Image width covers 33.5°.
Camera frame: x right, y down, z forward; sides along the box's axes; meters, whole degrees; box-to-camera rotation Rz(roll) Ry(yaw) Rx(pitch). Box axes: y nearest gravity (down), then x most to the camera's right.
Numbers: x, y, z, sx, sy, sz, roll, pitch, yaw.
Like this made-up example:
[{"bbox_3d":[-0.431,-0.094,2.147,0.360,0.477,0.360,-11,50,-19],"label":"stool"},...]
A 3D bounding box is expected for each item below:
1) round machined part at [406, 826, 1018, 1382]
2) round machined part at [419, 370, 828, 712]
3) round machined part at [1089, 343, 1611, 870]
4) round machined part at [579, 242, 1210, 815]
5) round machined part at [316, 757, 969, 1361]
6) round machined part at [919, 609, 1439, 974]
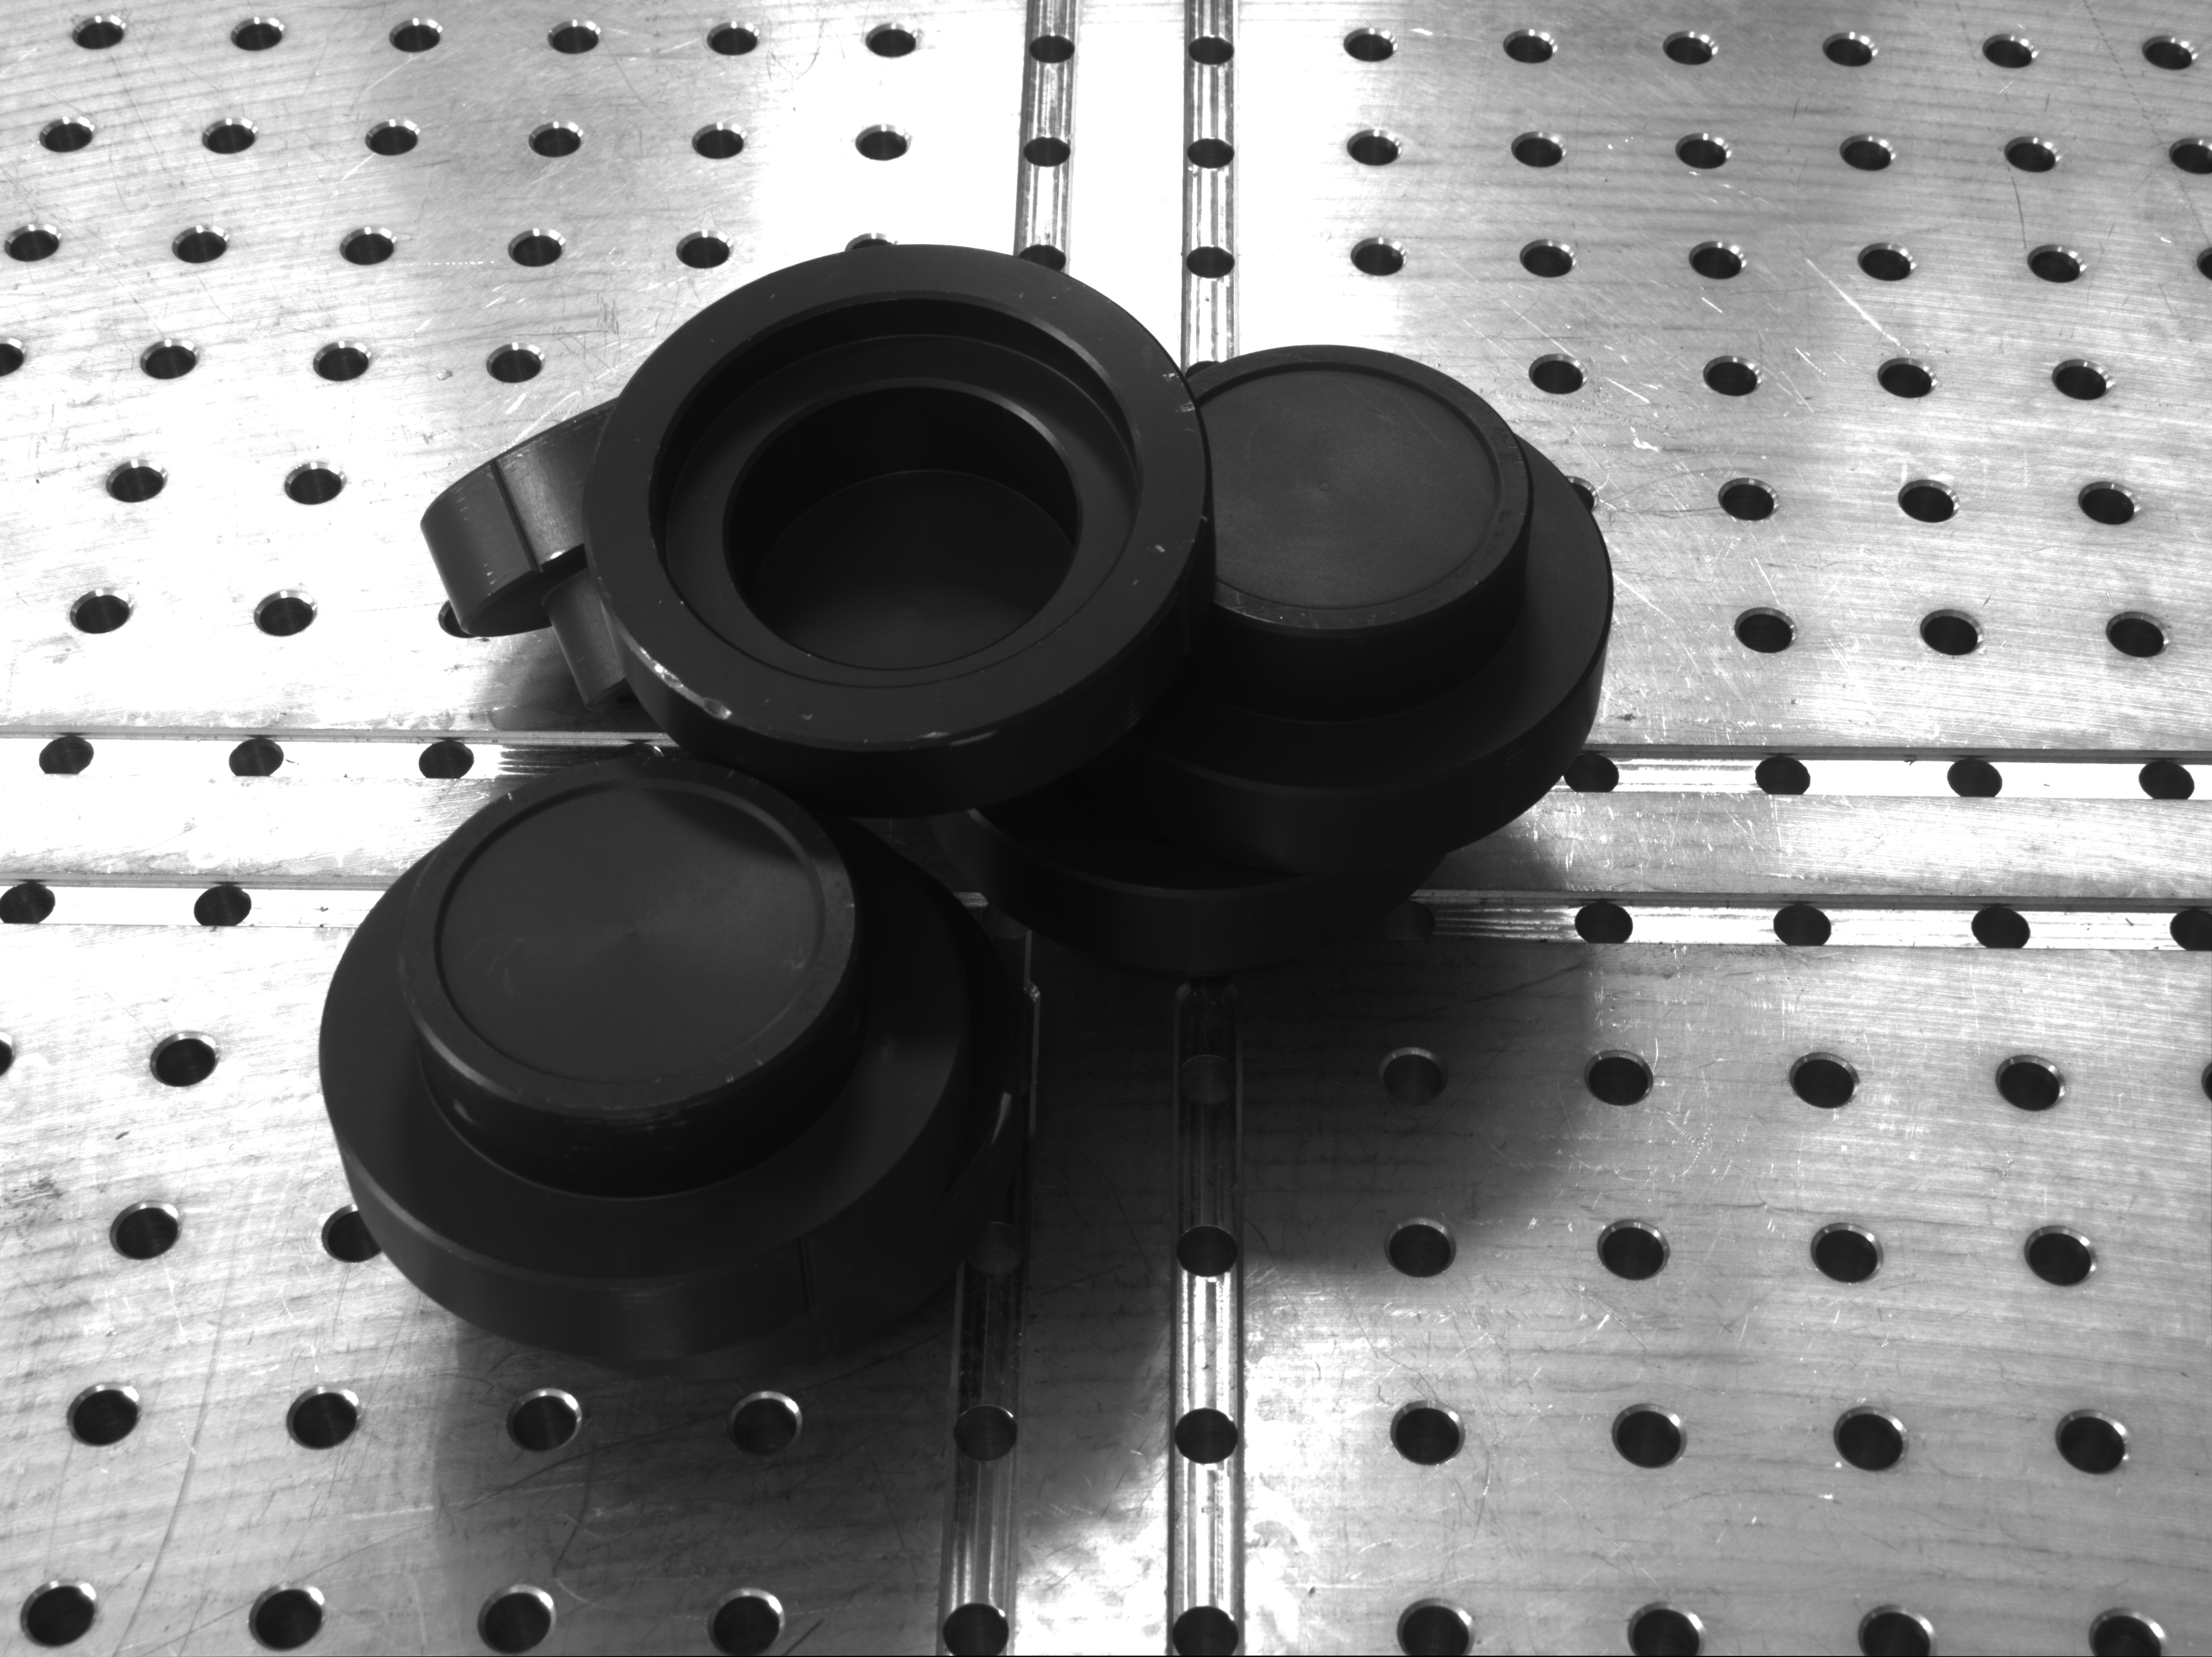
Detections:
[{"bbox_3d":[-0.063,0.034,0.578,0.098,0.042,0.098,0,50,0],"label":"round machined part"},{"bbox_3d":[-0.069,-0.053,0.654,0.098,0.098,0.042,-22,88,-17],"label":"round machined part"},{"bbox_3d":[0.035,-0.043,0.615,0.098,0.042,0.098,0,49,0],"label":"round machined part"},{"bbox_3d":[-0.032,-0.043,0.587,0.098,0.042,0.098,-2,58,3],"label":"round machined part"},{"bbox_3d":[-0.070,0.028,0.555,0.098,0.042,0.098,0,50,0],"label":"round machined part"},{"bbox_3d":[0.014,-0.026,0.629,0.098,0.042,0.098,0,50,0],"label":"round machined part"}]
